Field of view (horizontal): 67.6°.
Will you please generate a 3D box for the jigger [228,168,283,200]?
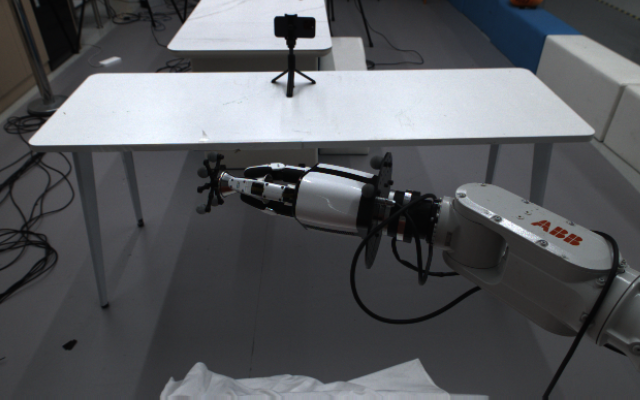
[{"bbox_3d":[-0.101,-0.023,0.697,0.071,0.043,0.043,7,35,14],"label":"jigger"}]
